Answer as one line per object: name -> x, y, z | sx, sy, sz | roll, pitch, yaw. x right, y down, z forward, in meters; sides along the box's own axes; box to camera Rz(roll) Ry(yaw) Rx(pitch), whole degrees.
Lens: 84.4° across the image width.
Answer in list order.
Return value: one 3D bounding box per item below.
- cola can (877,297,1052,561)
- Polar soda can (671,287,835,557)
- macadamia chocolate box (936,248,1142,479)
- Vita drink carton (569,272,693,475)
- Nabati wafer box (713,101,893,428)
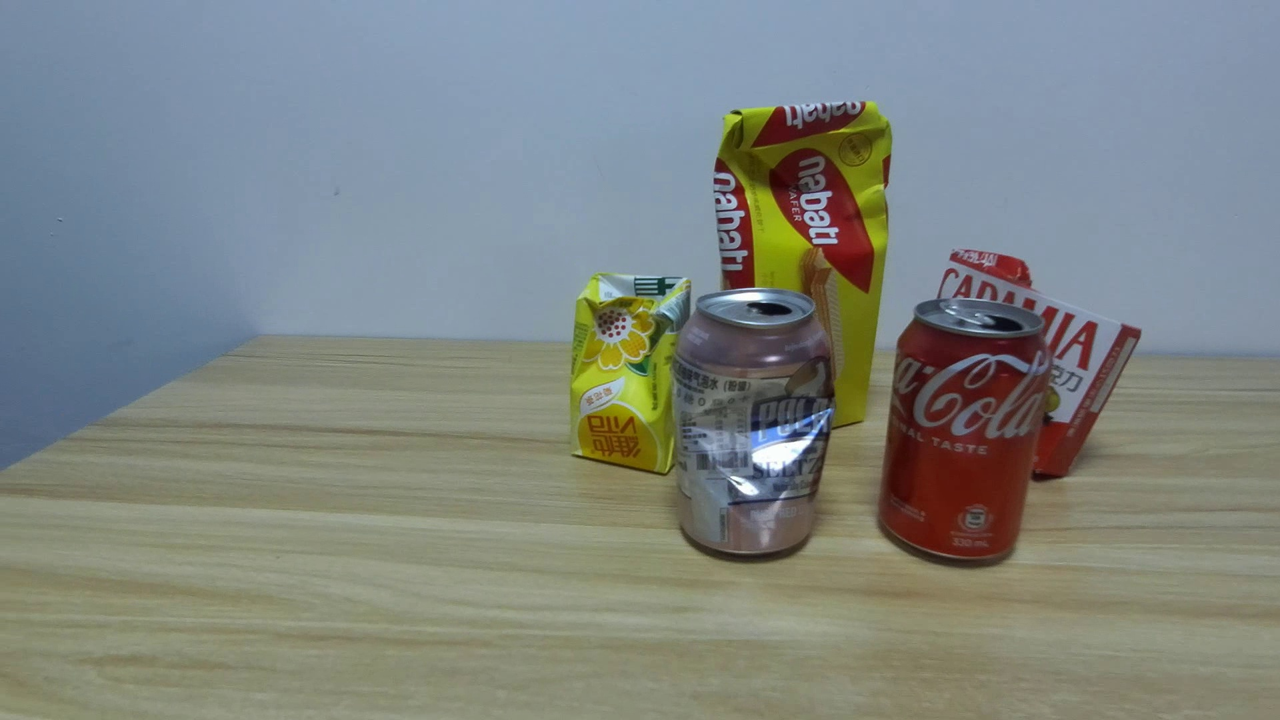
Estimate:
cola can -> 0.153, 0.033, 0.340 | 0.068, 0.120, 0.068 | 0, 19, 0
Polar soda can -> 0.054, 0.031, 0.342 | 0.074, 0.122, 0.067 | 7, 21, 21
macadamia chocolate box -> 0.232, -0.003, 0.441 | 0.056, 0.112, 0.126 | -5, 21, -16
Vita drink carton -> -0.007, 0.006, 0.425 | 0.071, 0.109, 0.046 | 7, 20, 22
Nabati wafer box -> 0.101, -0.051, 0.439 | 0.114, 0.205, 0.042 | -10, 19, -23
